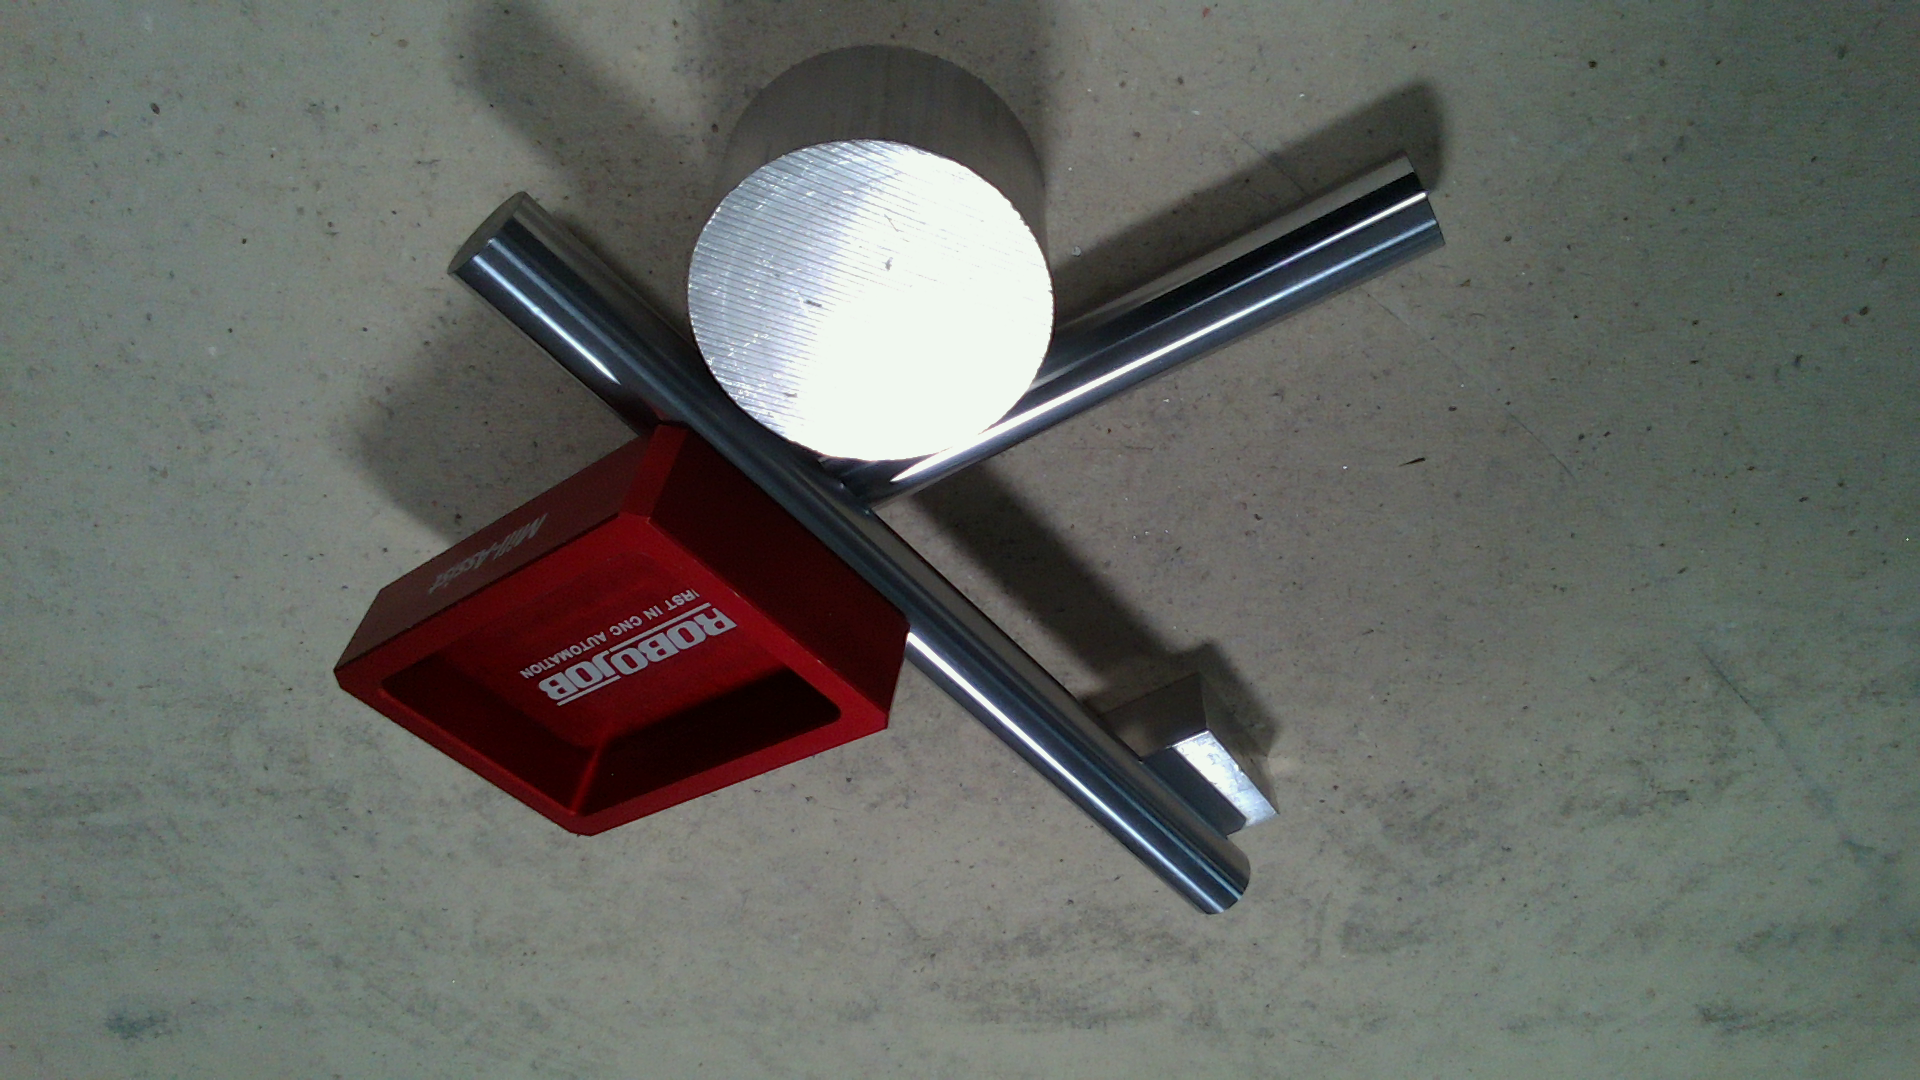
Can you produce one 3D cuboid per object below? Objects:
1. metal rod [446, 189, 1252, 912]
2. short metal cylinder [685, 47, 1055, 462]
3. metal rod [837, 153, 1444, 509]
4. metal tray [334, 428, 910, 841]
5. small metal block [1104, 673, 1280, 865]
[{"bbox_3d":[-0.009,0.022,0.377,0.025,0.025,0.301,-32,123,24],"label":"metal rod"},{"bbox_3d":[-0.019,-0.065,0.318,0.080,0.050,0.080,0,130,0],"label":"short metal cylinder"},{"bbox_3d":[-0.021,-0.022,0.372,0.299,0.025,0.025,-24,126,19],"label":"metal rod"},{"bbox_3d":[-0.090,0.032,0.363,0.130,0.030,0.090,-24,126,34],"label":"metal tray"},{"bbox_3d":[0.070,0.077,0.456,0.050,0.025,0.050,-27,125,21],"label":"small metal block"}]
